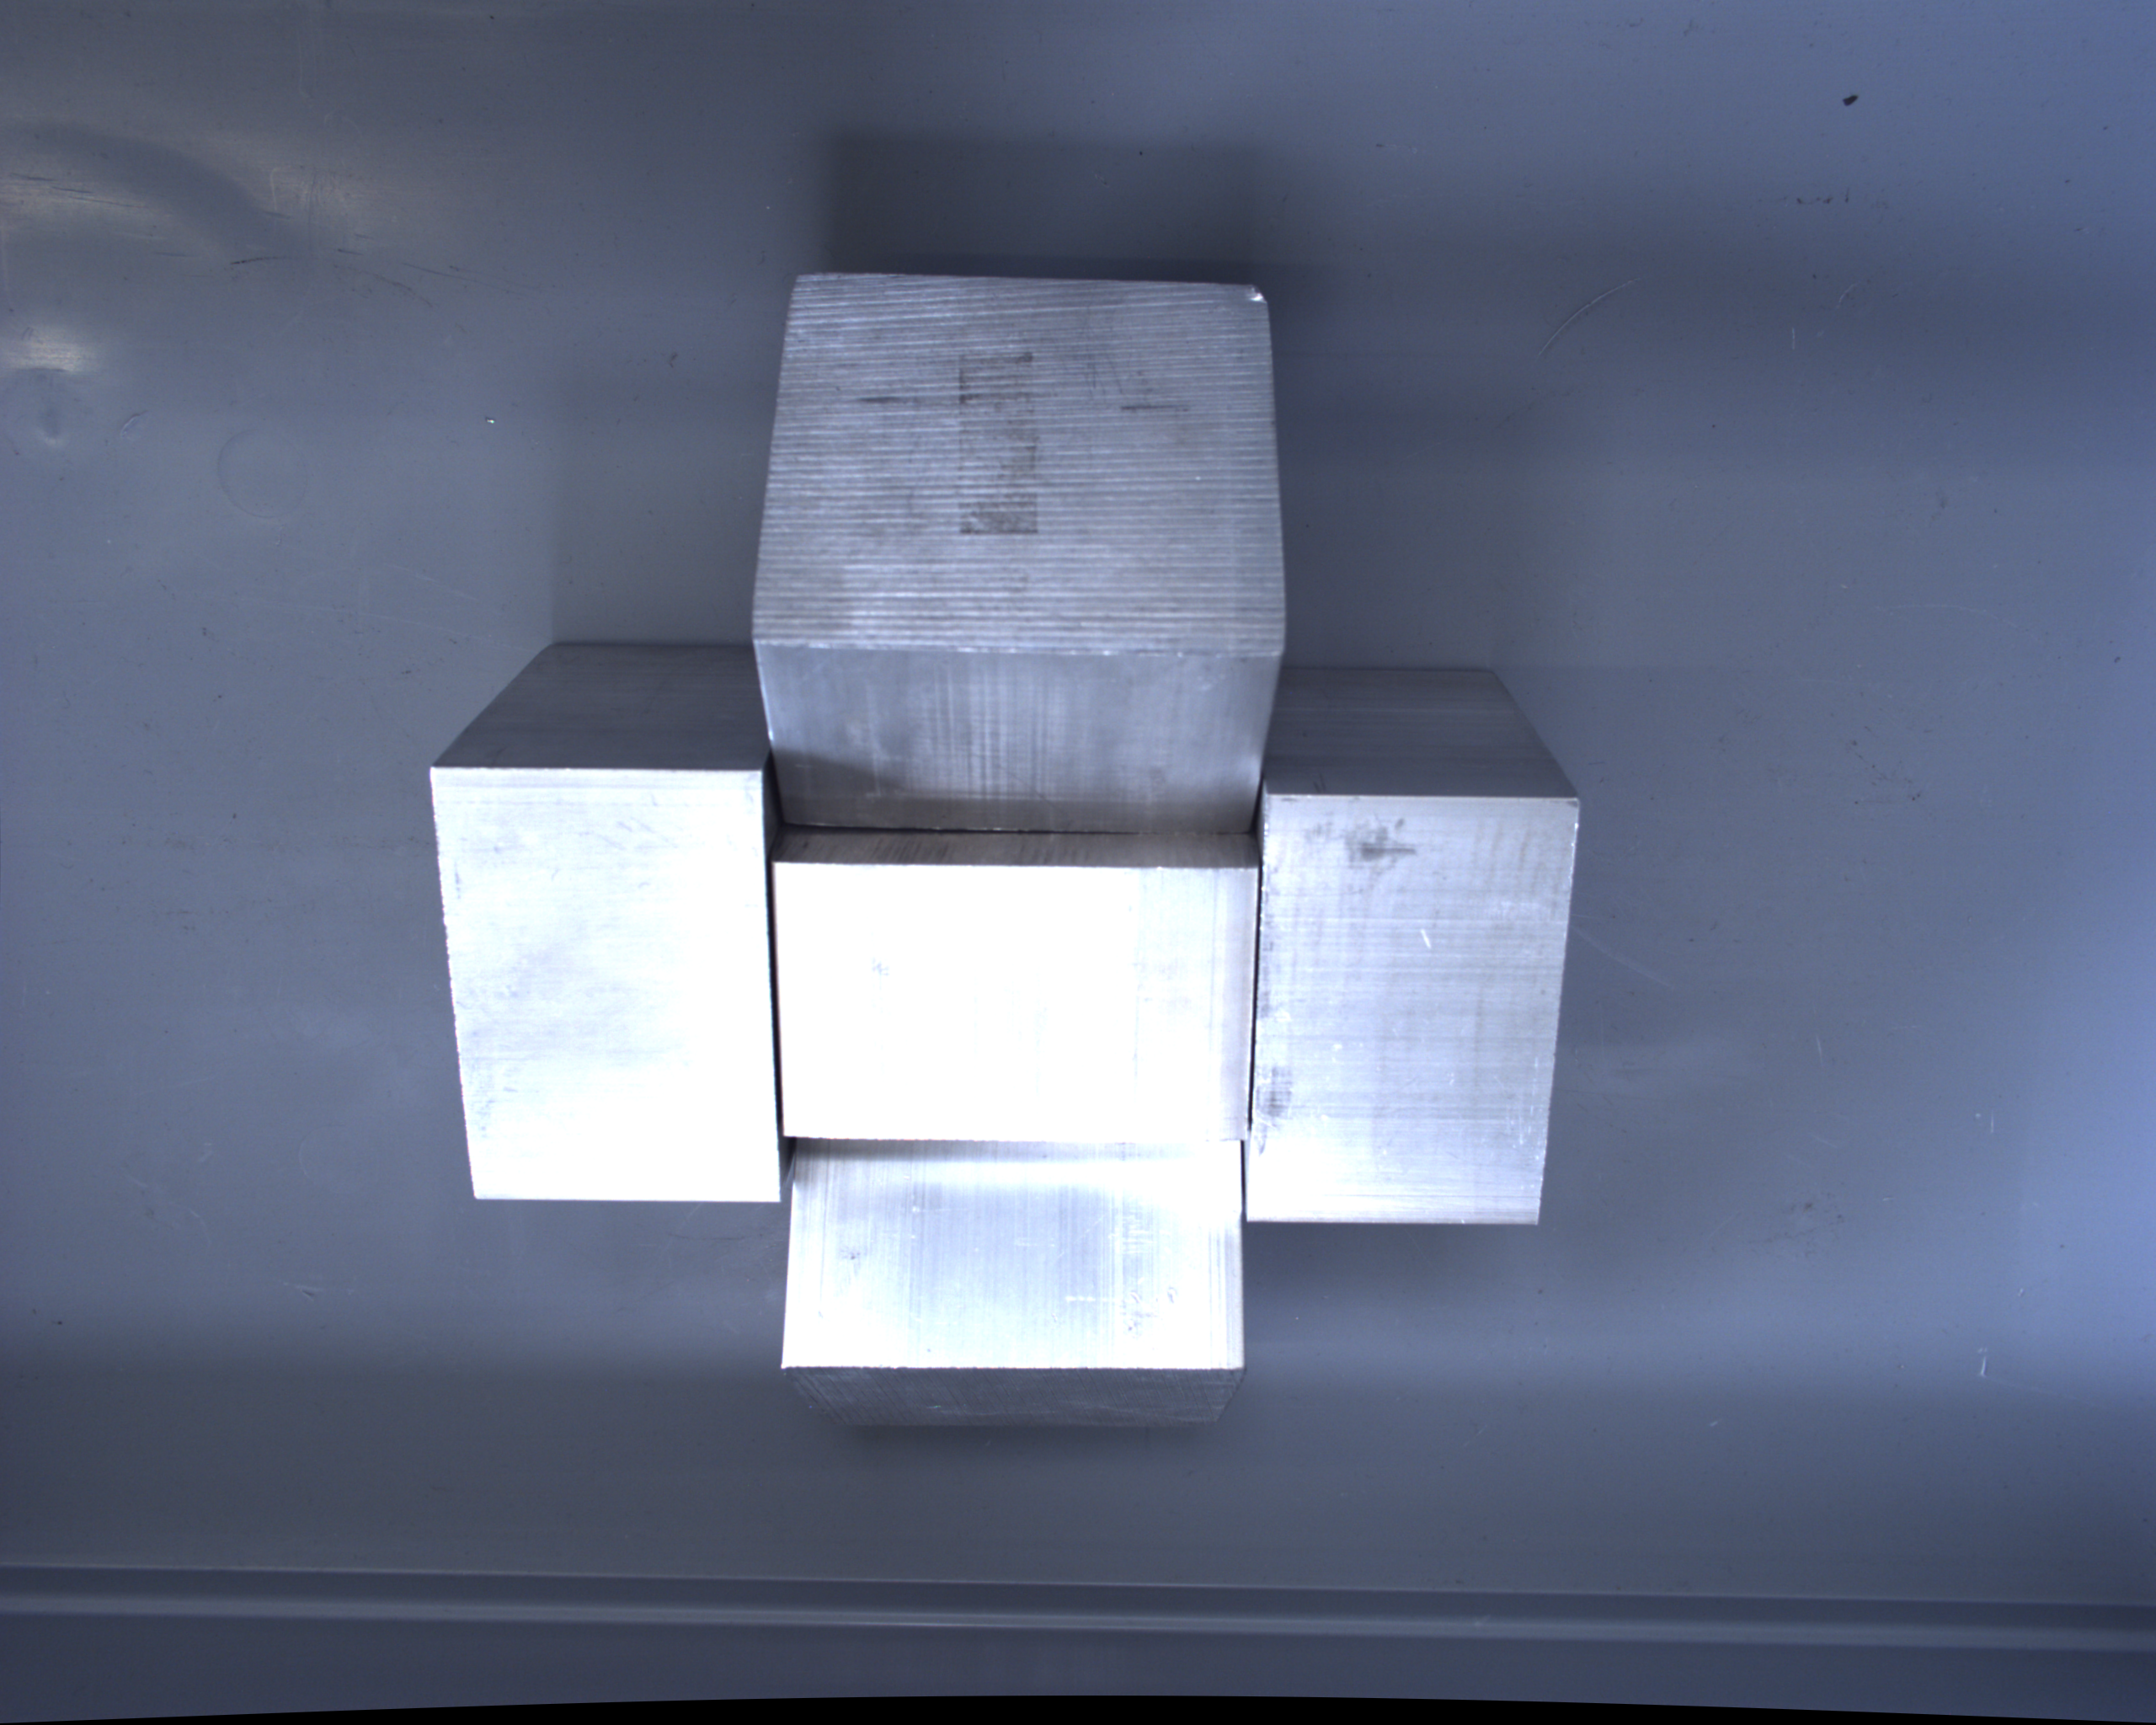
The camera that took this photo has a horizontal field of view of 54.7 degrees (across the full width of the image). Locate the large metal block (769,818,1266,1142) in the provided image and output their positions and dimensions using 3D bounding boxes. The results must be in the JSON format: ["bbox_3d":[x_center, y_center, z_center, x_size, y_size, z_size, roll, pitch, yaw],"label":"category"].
[{"bbox_3d":[-0.010,0.010,0.384,0.081,0.080,0.050,1,110,-1],"label":"large metal block"}]

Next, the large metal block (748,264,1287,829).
[{"bbox_3d":[-0.009,-0.054,0.354,0.081,0.080,0.050,2,148,-1],"label":"large metal block"}]

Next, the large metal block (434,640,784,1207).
[{"bbox_3d":[-0.078,0.008,0.383,0.050,0.080,0.079,1,110,0],"label":"large metal block"}]

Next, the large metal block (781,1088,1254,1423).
[{"bbox_3d":[-0.011,0.078,0.402,0.081,0.080,0.050,0,68,-2],"label":"large metal block"}]

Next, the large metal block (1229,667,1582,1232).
[{"bbox_3d":[0.055,0.013,0.386,0.050,0.080,0.079,1,110,0],"label":"large metal block"}]
